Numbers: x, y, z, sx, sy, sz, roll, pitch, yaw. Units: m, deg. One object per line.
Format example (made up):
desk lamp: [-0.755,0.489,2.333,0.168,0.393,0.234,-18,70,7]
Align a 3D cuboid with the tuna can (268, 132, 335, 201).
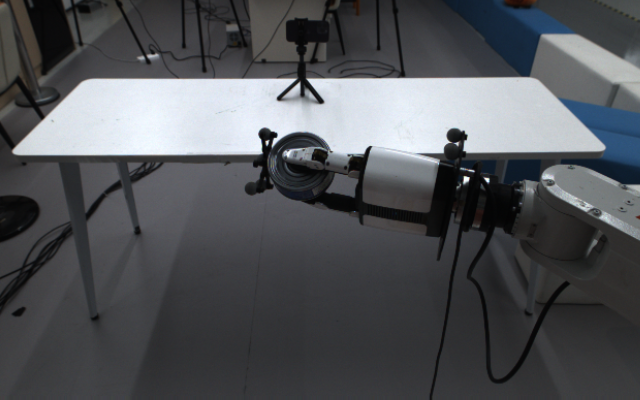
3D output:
tuna can: [-0.023,-0.046,0.628,0.085,0.034,0.085,-2,69,6]
